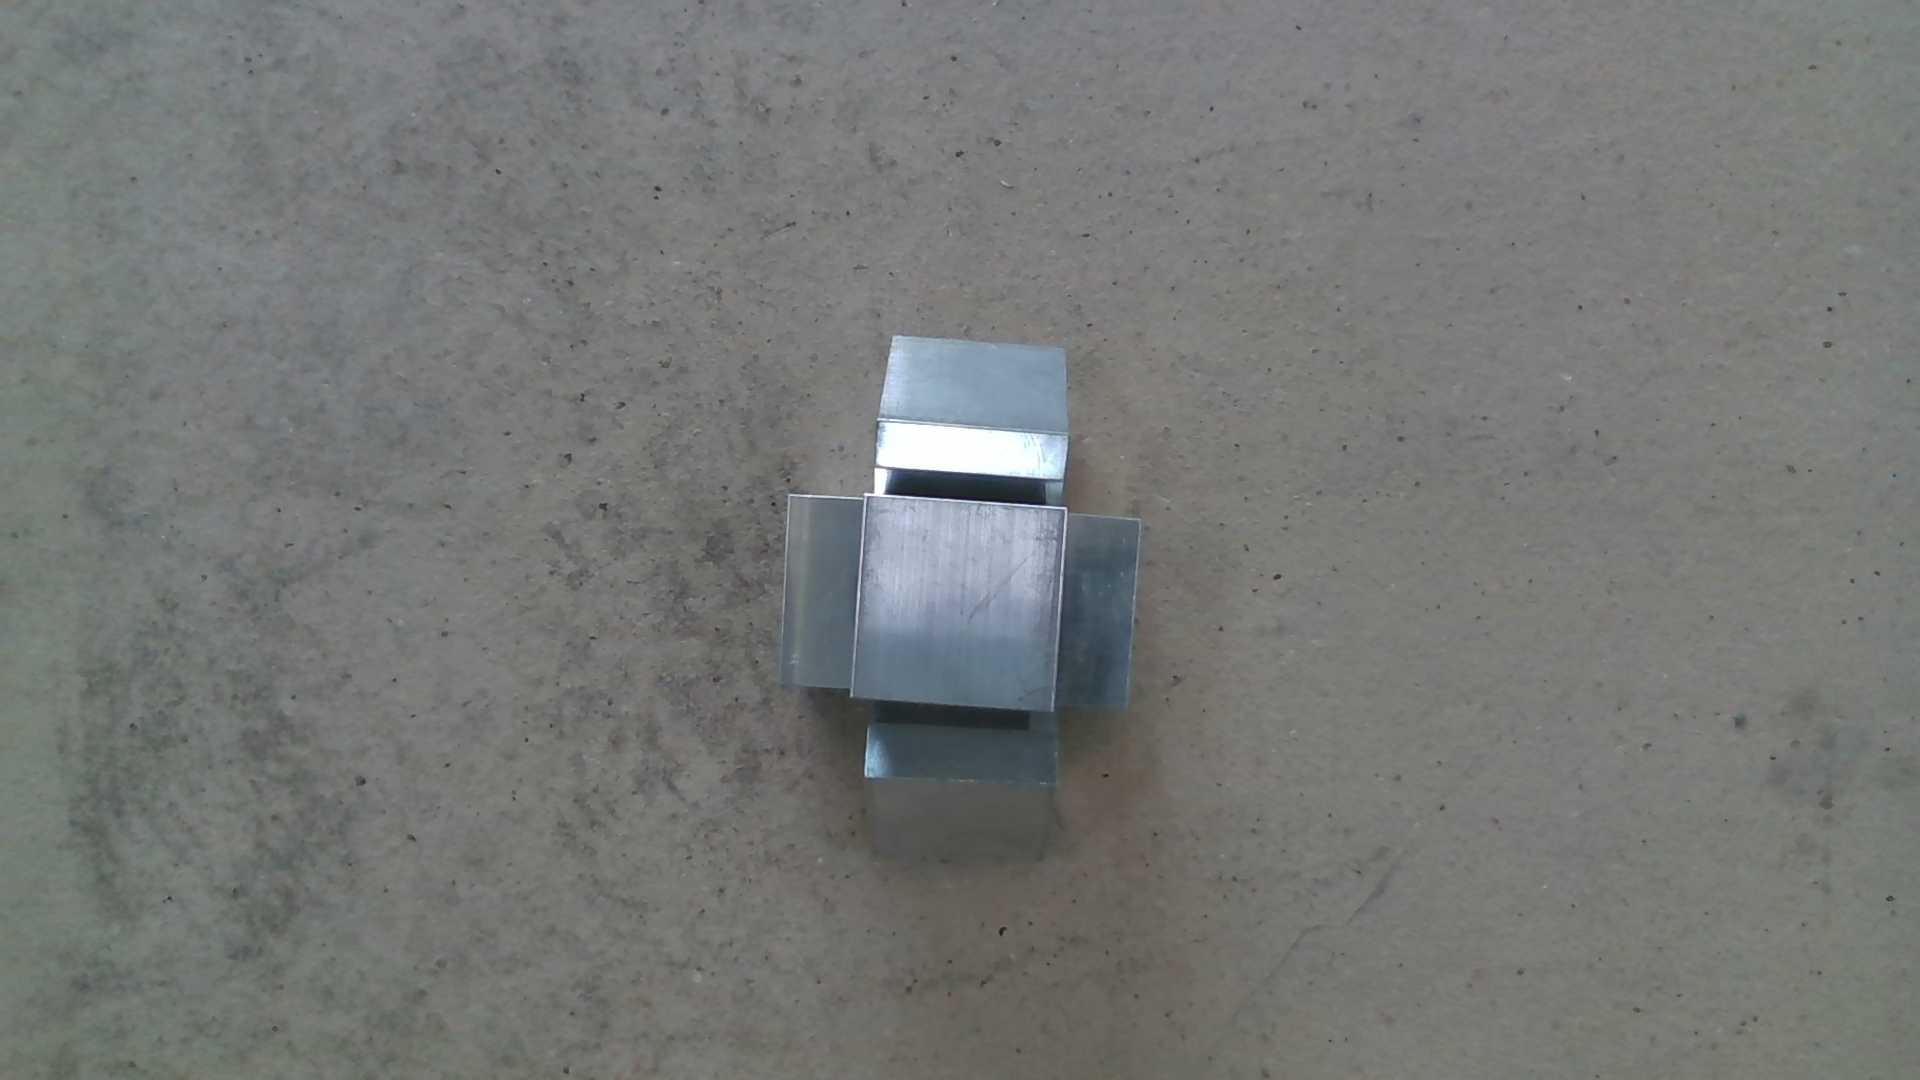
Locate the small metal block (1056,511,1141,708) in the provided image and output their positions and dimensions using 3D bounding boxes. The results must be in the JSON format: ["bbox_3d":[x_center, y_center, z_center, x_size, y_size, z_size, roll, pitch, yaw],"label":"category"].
[{"bbox_3d":[0.033,0.018,0.383,0.025,0.050,0.050,5,90,1],"label":"small metal block"}]

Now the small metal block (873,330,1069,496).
[{"bbox_3d":[0.003,-0.034,0.381,0.050,0.050,0.025,4,125,0],"label":"small metal block"}]

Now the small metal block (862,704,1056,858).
[{"bbox_3d":[0.000,0.066,0.381,0.050,0.050,0.025,2,55,0],"label":"small metal block"}]

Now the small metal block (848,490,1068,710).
[{"bbox_3d":[0.000,0.015,0.346,0.050,0.025,0.050,4,90,0],"label":"small metal block"}]

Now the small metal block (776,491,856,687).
[{"bbox_3d":[-0.034,0.013,0.384,0.025,0.050,0.050,3,90,0],"label":"small metal block"}]
